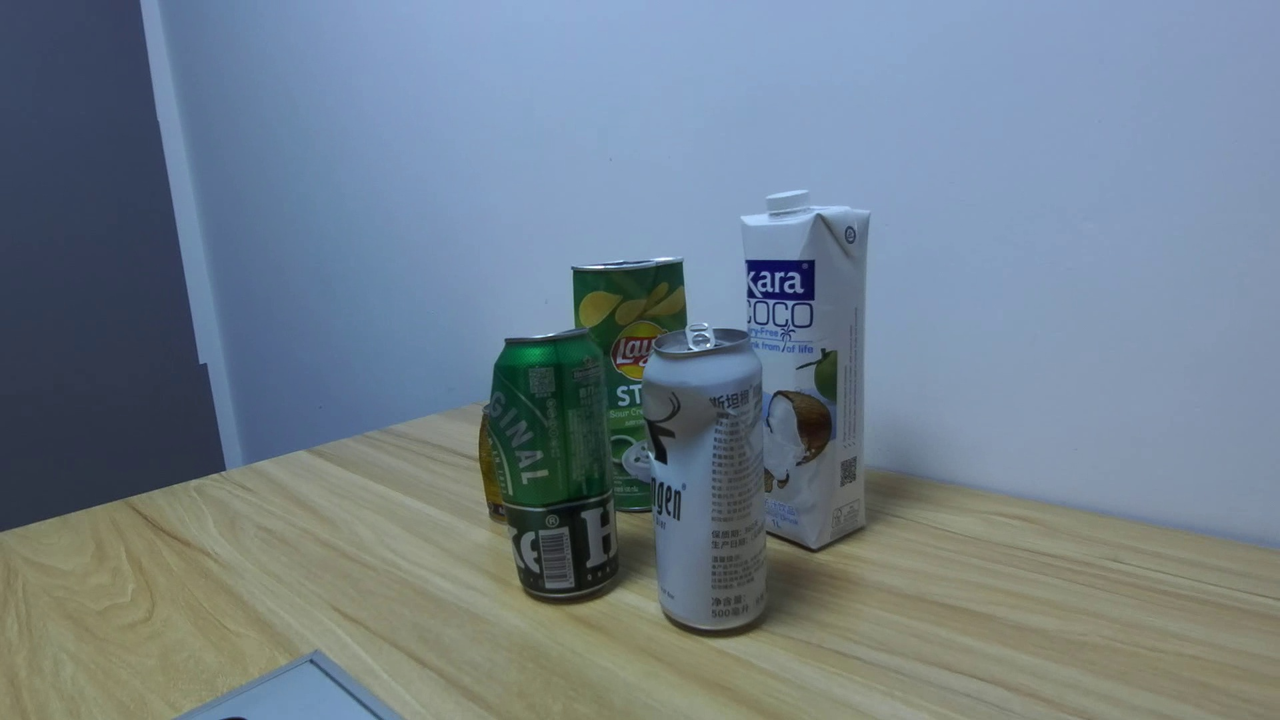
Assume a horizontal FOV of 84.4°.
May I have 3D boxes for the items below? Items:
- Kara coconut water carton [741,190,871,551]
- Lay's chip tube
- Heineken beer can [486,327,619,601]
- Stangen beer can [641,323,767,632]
[{"bbox_3d":[0.117,0.006,0.507,0.076,0.245,0.076,-11,13,-38],"label":"Kara coconut water carton"},{"bbox_3d":[-0.002,0.019,0.583,0.068,0.199,0.075,5,17,34],"label":"Lay's chip tube"},{"bbox_3d":[-0.052,0.067,0.458,0.068,0.168,0.069,-3,7,17],"label":"Heineken beer can"},{"bbox_3d":[0.038,0.067,0.407,0.069,0.173,0.070,-2,13,9],"label":"Stangen beer can"}]
